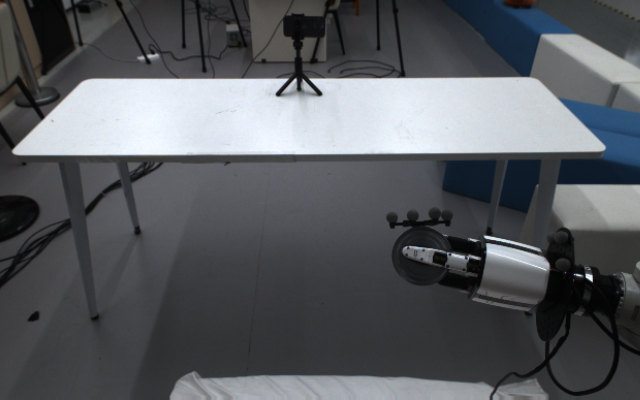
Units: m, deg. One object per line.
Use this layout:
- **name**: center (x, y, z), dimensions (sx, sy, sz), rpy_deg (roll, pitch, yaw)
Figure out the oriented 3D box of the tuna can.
- **tuna can**: center (0.150, 0.080, 0.706), dimensions (0.085, 0.034, 0.085), rpy_deg (-2, 79, 10)
